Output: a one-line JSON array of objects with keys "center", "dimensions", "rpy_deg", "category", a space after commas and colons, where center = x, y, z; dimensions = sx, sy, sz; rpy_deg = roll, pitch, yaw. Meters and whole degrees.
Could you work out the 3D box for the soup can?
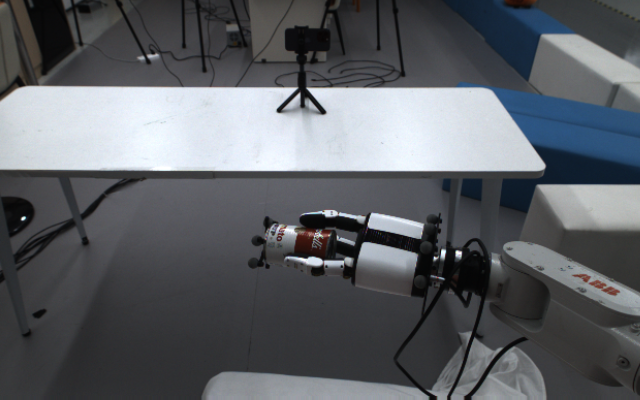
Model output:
[{"center": [-0.028, 0.075, 0.756], "dimensions": [0.101, 0.067, 0.067], "rpy_deg": [5, 35, 13], "category": "soup can"}]
